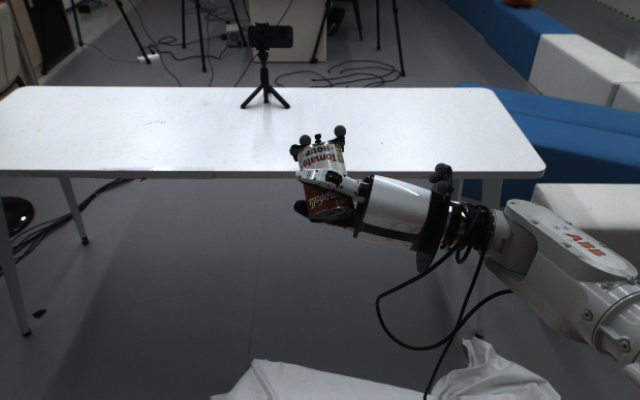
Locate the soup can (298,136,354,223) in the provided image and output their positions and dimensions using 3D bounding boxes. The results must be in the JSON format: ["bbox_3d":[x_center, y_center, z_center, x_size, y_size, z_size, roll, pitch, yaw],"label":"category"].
[{"bbox_3d":[0.009,-0.025,0.701,0.067,0.067,0.101,-8,74,-14],"label":"soup can"}]
